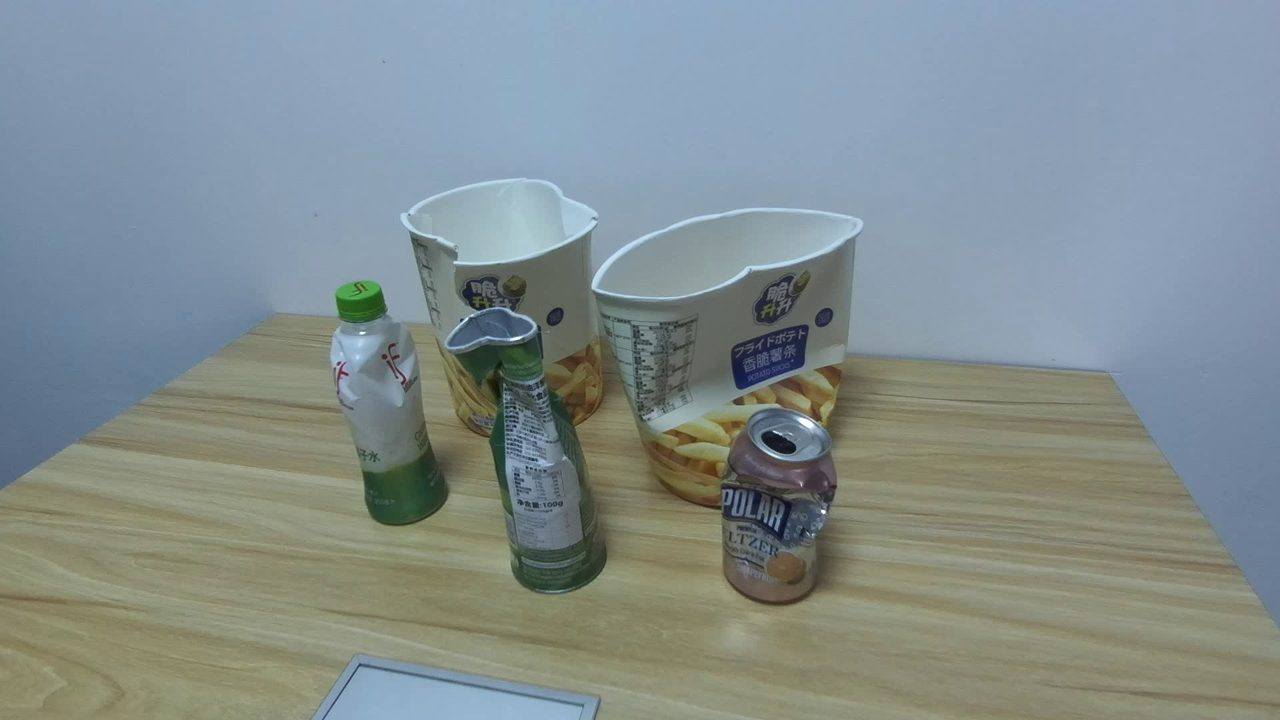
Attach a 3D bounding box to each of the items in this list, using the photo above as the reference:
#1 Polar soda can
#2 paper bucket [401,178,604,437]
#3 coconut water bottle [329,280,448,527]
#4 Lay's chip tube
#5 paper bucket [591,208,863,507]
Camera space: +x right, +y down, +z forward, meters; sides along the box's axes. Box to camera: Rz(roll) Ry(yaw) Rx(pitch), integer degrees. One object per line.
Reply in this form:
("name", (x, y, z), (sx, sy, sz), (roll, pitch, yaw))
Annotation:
("Polar soda can", (0.093, 0.097, 0.464), (0.070, 0.122, 0.067), (21, 32, 34))
("paper bucket", (-0.114, -0.045, 0.654), (0.146, 0.197, 0.201), (-22, 34, -27))
("coconut water bottle", (-0.192, 0.034, 0.532), (0.067, 0.187, 0.067), (-1, 28, 1))
("Lay's chip tube", (-0.073, 0.060, 0.466), (0.071, 0.200, 0.079), (-8, 27, 5))
("paper bucket", (0.078, -0.004, 0.558), (0.147, 0.199, 0.218), (12, 33, 24))
